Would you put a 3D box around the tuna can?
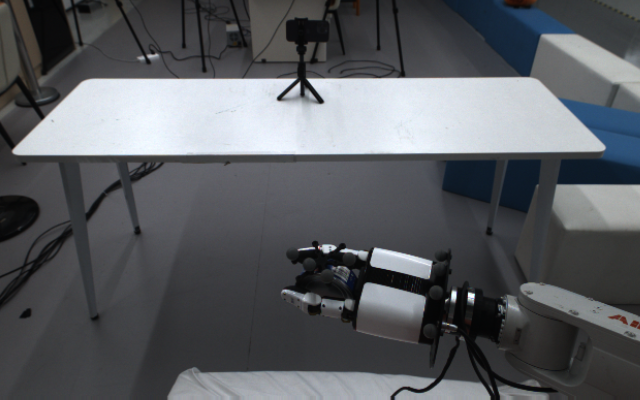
[{"bbox_3d":[0.013,0.122,0.673,0.085,0.085,0.034,12,39,13],"label":"tuna can"}]
